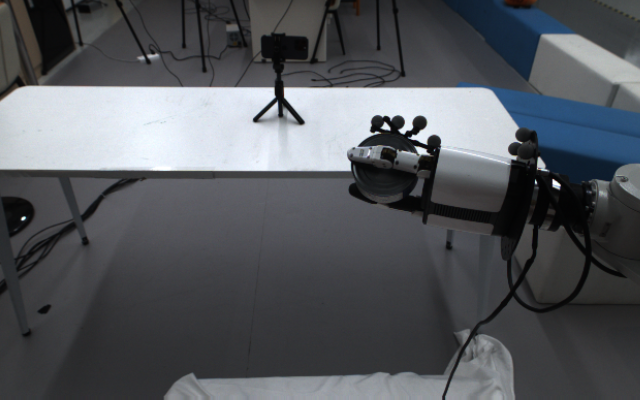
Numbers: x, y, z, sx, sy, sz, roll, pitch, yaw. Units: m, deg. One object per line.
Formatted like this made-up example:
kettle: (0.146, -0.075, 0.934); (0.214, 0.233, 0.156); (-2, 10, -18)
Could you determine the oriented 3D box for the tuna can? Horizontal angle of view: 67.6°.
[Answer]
tuna can: (0.085, -0.043, 0.618); (0.085, 0.034, 0.085); (-4, 67, 10)
